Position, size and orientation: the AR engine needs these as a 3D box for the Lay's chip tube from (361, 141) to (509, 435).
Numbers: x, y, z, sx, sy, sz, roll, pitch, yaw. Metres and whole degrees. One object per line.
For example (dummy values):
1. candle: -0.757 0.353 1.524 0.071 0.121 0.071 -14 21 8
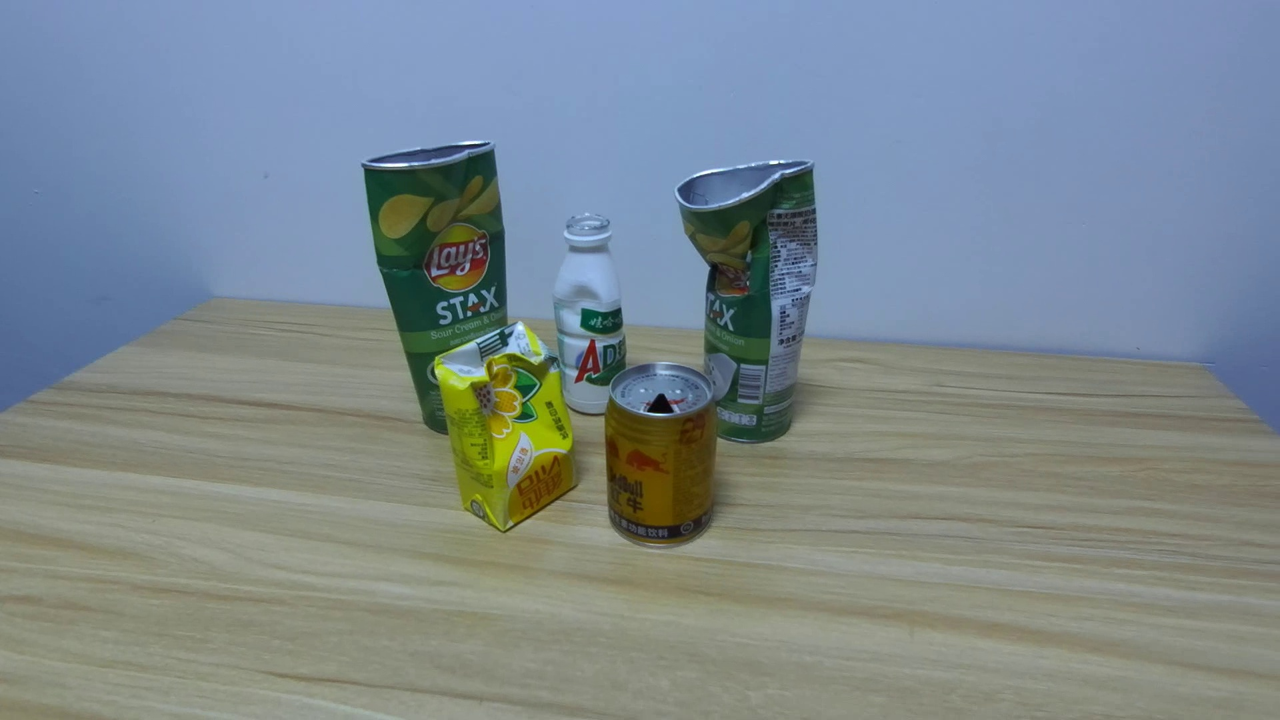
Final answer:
1. Lay's chip tube: -0.136 -0.048 0.509 0.069 0.199 0.075 3 28 7

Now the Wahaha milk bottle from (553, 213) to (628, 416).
1. Wahaha milk bottle: -0.036 -0.032 0.528 0.055 0.149 0.055 0 29 1

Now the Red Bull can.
1. Red Bull can: 0.013 0.056 0.424 0.067 0.093 0.067 1 29 0

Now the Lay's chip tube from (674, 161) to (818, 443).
1. Lay's chip tube: 0.073 -0.036 0.488 0.078 0.200 0.071 22 43 38

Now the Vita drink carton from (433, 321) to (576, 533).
1. Vita drink carton: -0.079 0.041 0.438 0.046 0.110 0.071 20 34 38
